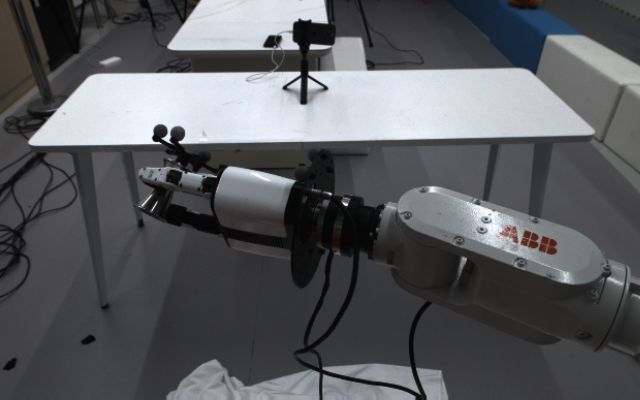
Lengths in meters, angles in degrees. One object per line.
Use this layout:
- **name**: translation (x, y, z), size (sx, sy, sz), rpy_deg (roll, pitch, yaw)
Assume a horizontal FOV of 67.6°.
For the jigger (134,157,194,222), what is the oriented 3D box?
- **jigger**: translation (-0.189, -0.014, 0.586), size (0.043, 0.043, 0.071), rpy_deg (20, 74, 24)
